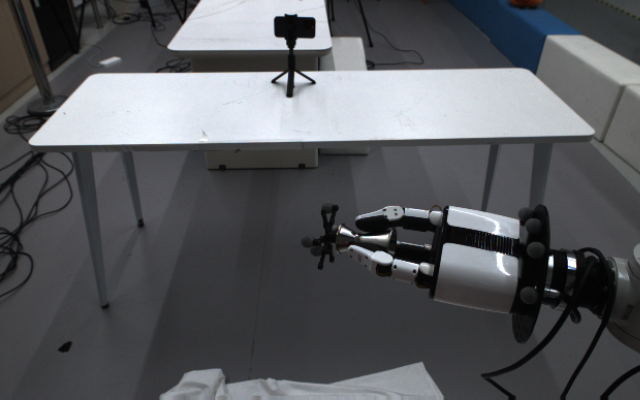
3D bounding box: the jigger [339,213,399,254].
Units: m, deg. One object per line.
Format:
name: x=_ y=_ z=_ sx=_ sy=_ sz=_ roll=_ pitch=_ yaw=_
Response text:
jigger: x=0.066 y=0.046 z=0.606 sx=0.071 sy=0.043 sz=0.043 roll=5 pitch=34 yaw=21
